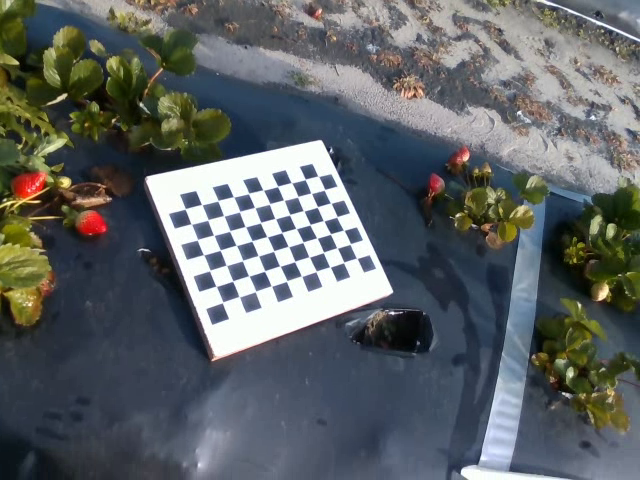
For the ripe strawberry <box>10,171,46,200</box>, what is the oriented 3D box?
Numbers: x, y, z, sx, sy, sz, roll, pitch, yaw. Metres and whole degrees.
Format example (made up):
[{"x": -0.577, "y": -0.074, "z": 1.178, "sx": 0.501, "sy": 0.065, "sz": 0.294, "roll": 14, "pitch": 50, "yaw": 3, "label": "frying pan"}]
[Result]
[{"x": -0.362, "y": -0.072, "z": 0.787, "sx": 0.048, "sy": 0.040, "sz": 0.031, "roll": -39, "pitch": -8, "yaw": 10, "label": "ripe strawberry"}]

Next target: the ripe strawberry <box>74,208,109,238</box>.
[{"x": -0.288, "y": -0.020, "z": 0.796, "sx": 0.043, "sy": 0.035, "sz": 0.030, "roll": 31, "pitch": -32, "yaw": -1, "label": "ripe strawberry"}]
